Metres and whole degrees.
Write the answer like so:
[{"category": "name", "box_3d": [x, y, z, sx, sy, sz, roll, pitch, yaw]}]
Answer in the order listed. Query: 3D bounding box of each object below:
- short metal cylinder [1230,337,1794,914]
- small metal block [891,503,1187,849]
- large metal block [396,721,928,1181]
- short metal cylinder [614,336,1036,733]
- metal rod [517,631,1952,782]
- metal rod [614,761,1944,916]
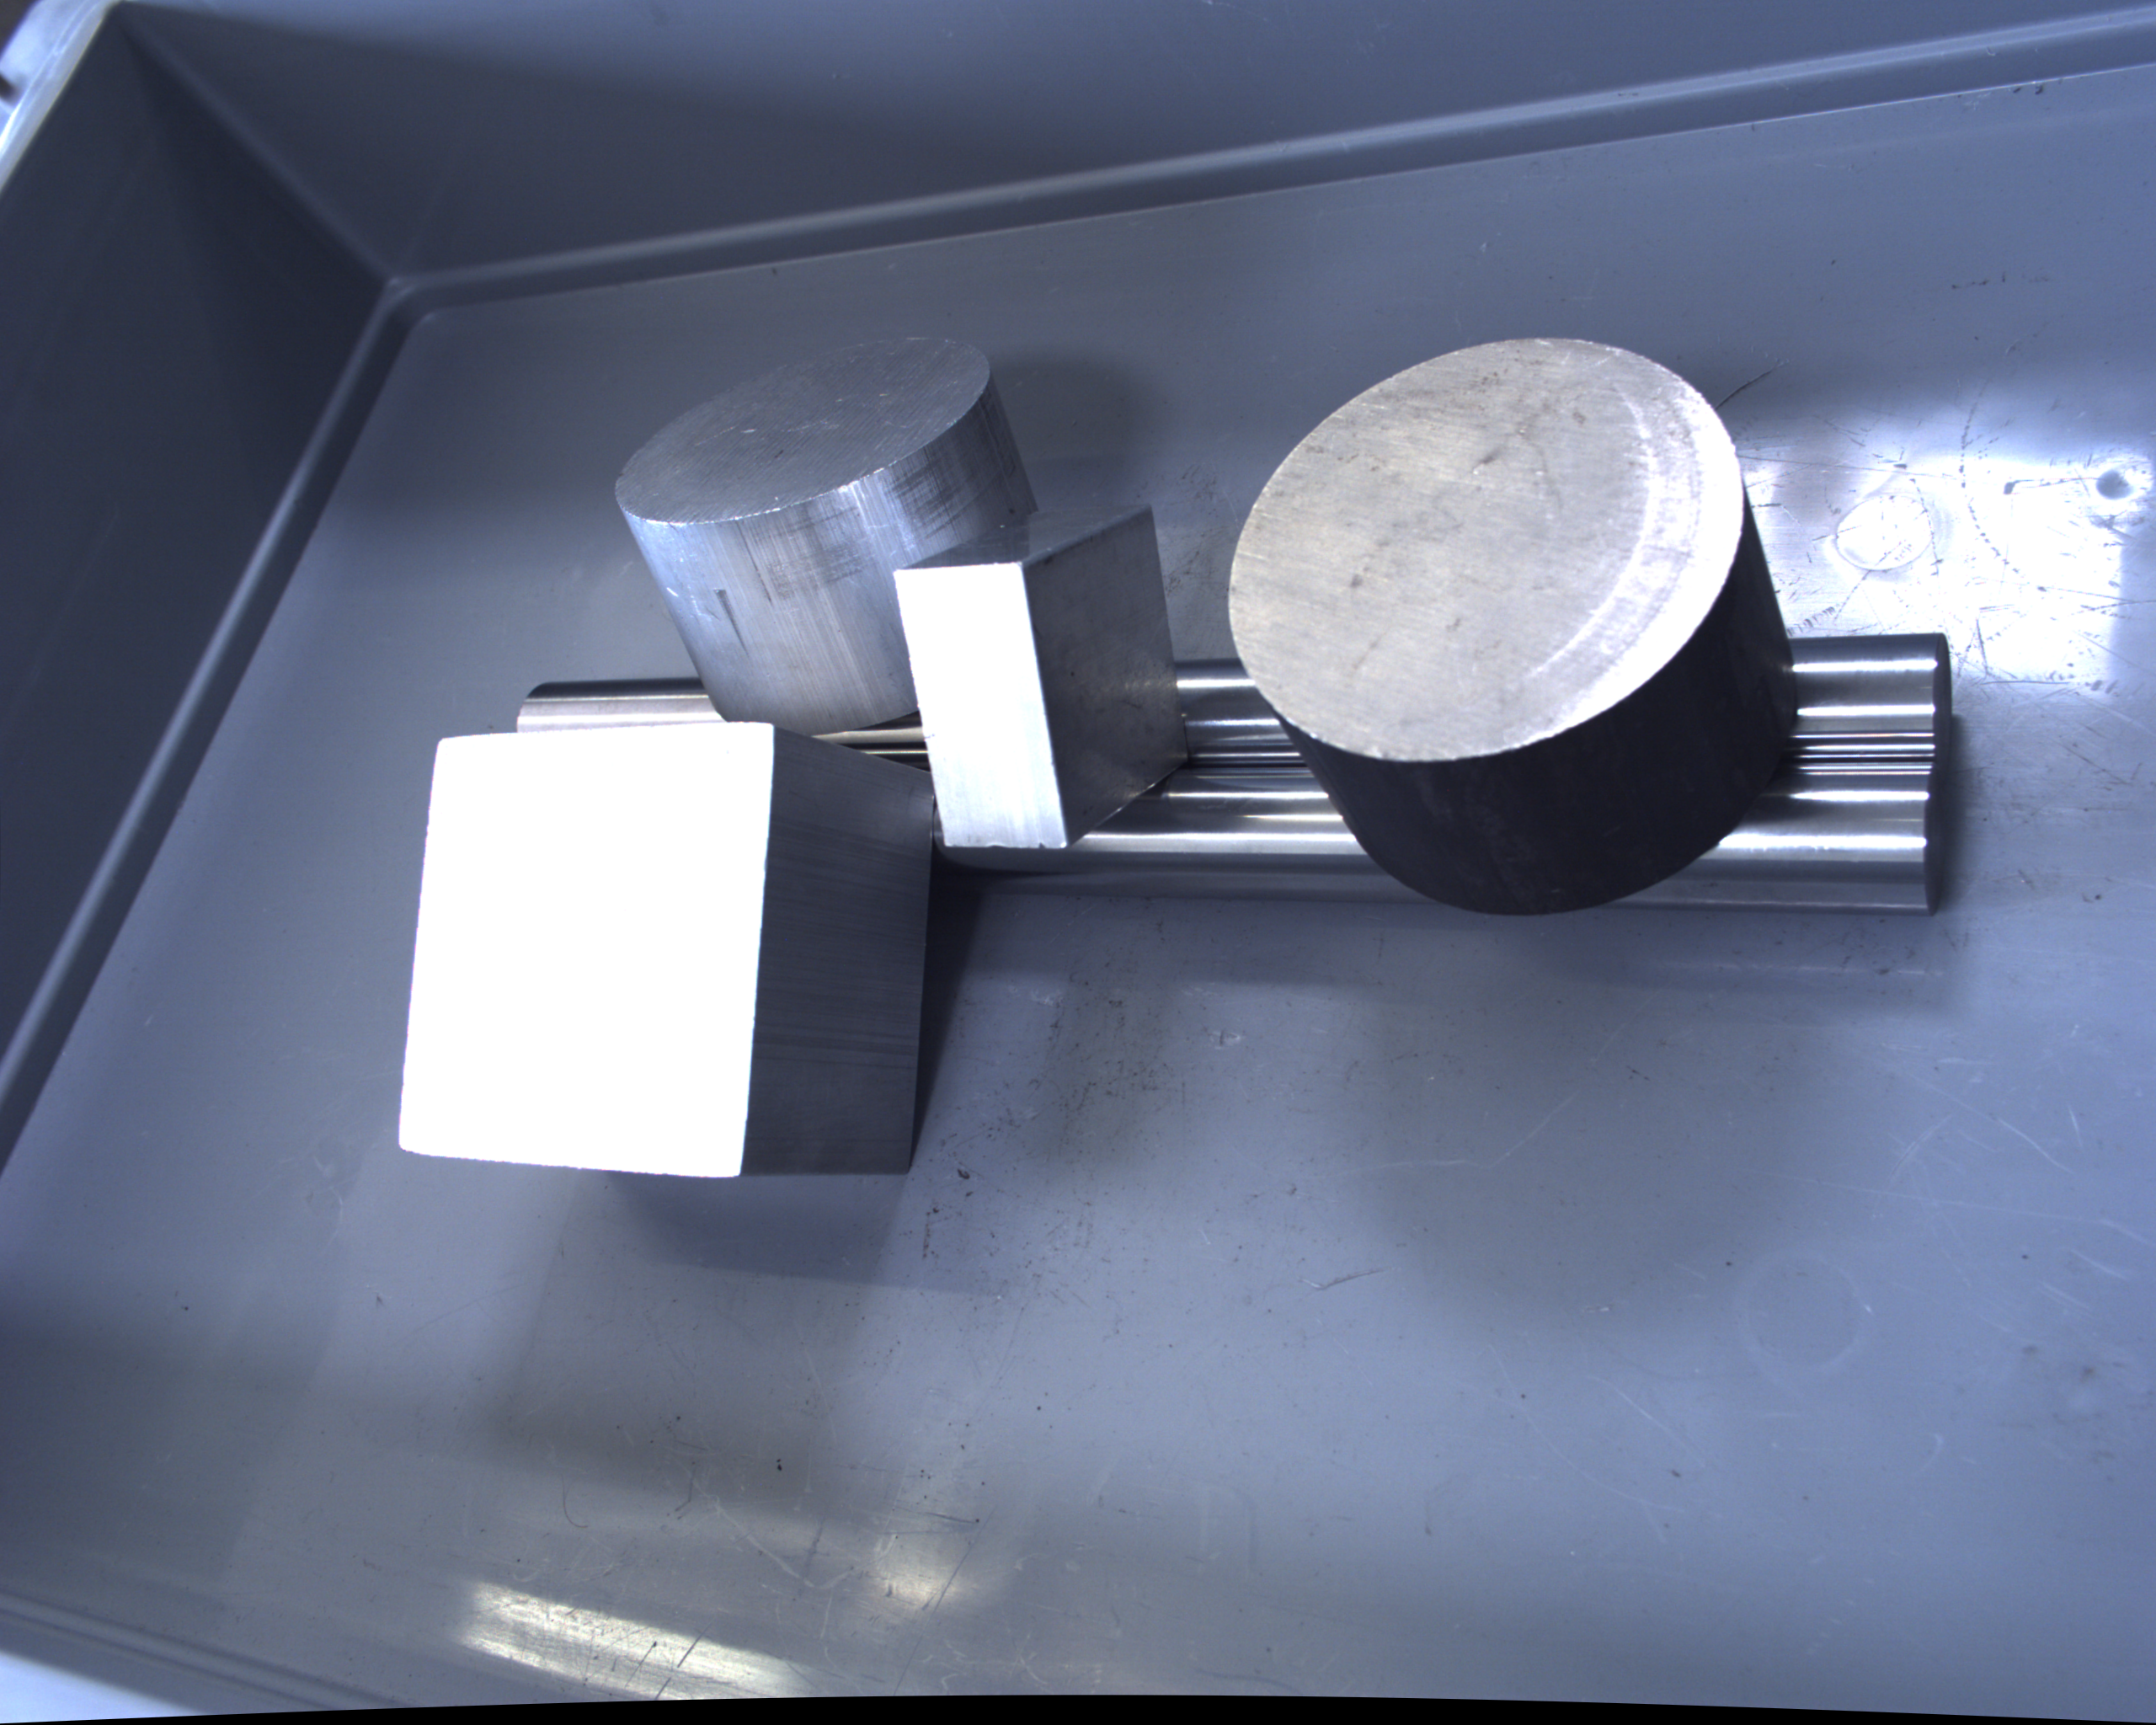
[{"category": "short metal cylinder", "box_3d": [0.072, -0.038, 0.341, 0.080, 0.050, 0.080, -13, 56, 21]}, {"category": "small metal block", "box_3d": [-0.005, -0.034, 0.375, 0.025, 0.050, 0.050, 1, 20, 28]}, {"category": "large metal block", "box_3d": [-0.078, 0.018, 0.400, 0.080, 0.050, 0.080, -1, 82, 28]}, {"category": "short metal cylinder", "box_3d": [-0.049, -0.070, 0.438, 0.080, 0.050, 0.080, -13, 33, 9]}, {"category": "metal rod", "box_3d": [0.011, -0.028, 0.415, 0.300, 0.025, 0.025, 1, 62, 28]}, {"category": "metal rod", "box_3d": [0.005, -0.006, 0.405, 0.300, 0.025, 0.025, 1, 62, 28]}]
